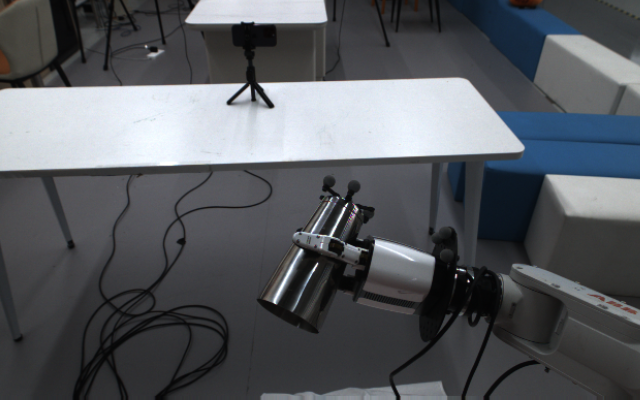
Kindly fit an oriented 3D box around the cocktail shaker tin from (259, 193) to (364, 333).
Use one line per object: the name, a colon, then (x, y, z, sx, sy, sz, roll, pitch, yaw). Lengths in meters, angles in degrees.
cocktail shaker tin: (-0.003, 0.077, 0.652, 0.093, 0.093, 0.170, 18, 66, 22)
